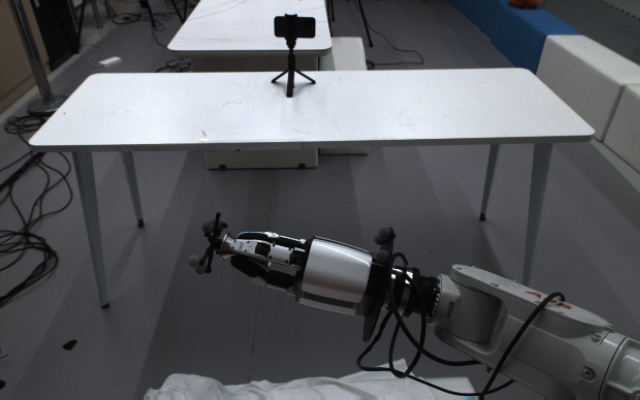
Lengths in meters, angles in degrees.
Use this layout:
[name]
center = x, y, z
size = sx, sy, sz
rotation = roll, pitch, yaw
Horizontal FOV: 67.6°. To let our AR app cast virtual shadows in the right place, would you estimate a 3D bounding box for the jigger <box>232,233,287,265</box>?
[jigger]
center = -0.093, 0.069, 0.673
size = 0.071, 0.043, 0.043
rotation = 13, 36, 4
